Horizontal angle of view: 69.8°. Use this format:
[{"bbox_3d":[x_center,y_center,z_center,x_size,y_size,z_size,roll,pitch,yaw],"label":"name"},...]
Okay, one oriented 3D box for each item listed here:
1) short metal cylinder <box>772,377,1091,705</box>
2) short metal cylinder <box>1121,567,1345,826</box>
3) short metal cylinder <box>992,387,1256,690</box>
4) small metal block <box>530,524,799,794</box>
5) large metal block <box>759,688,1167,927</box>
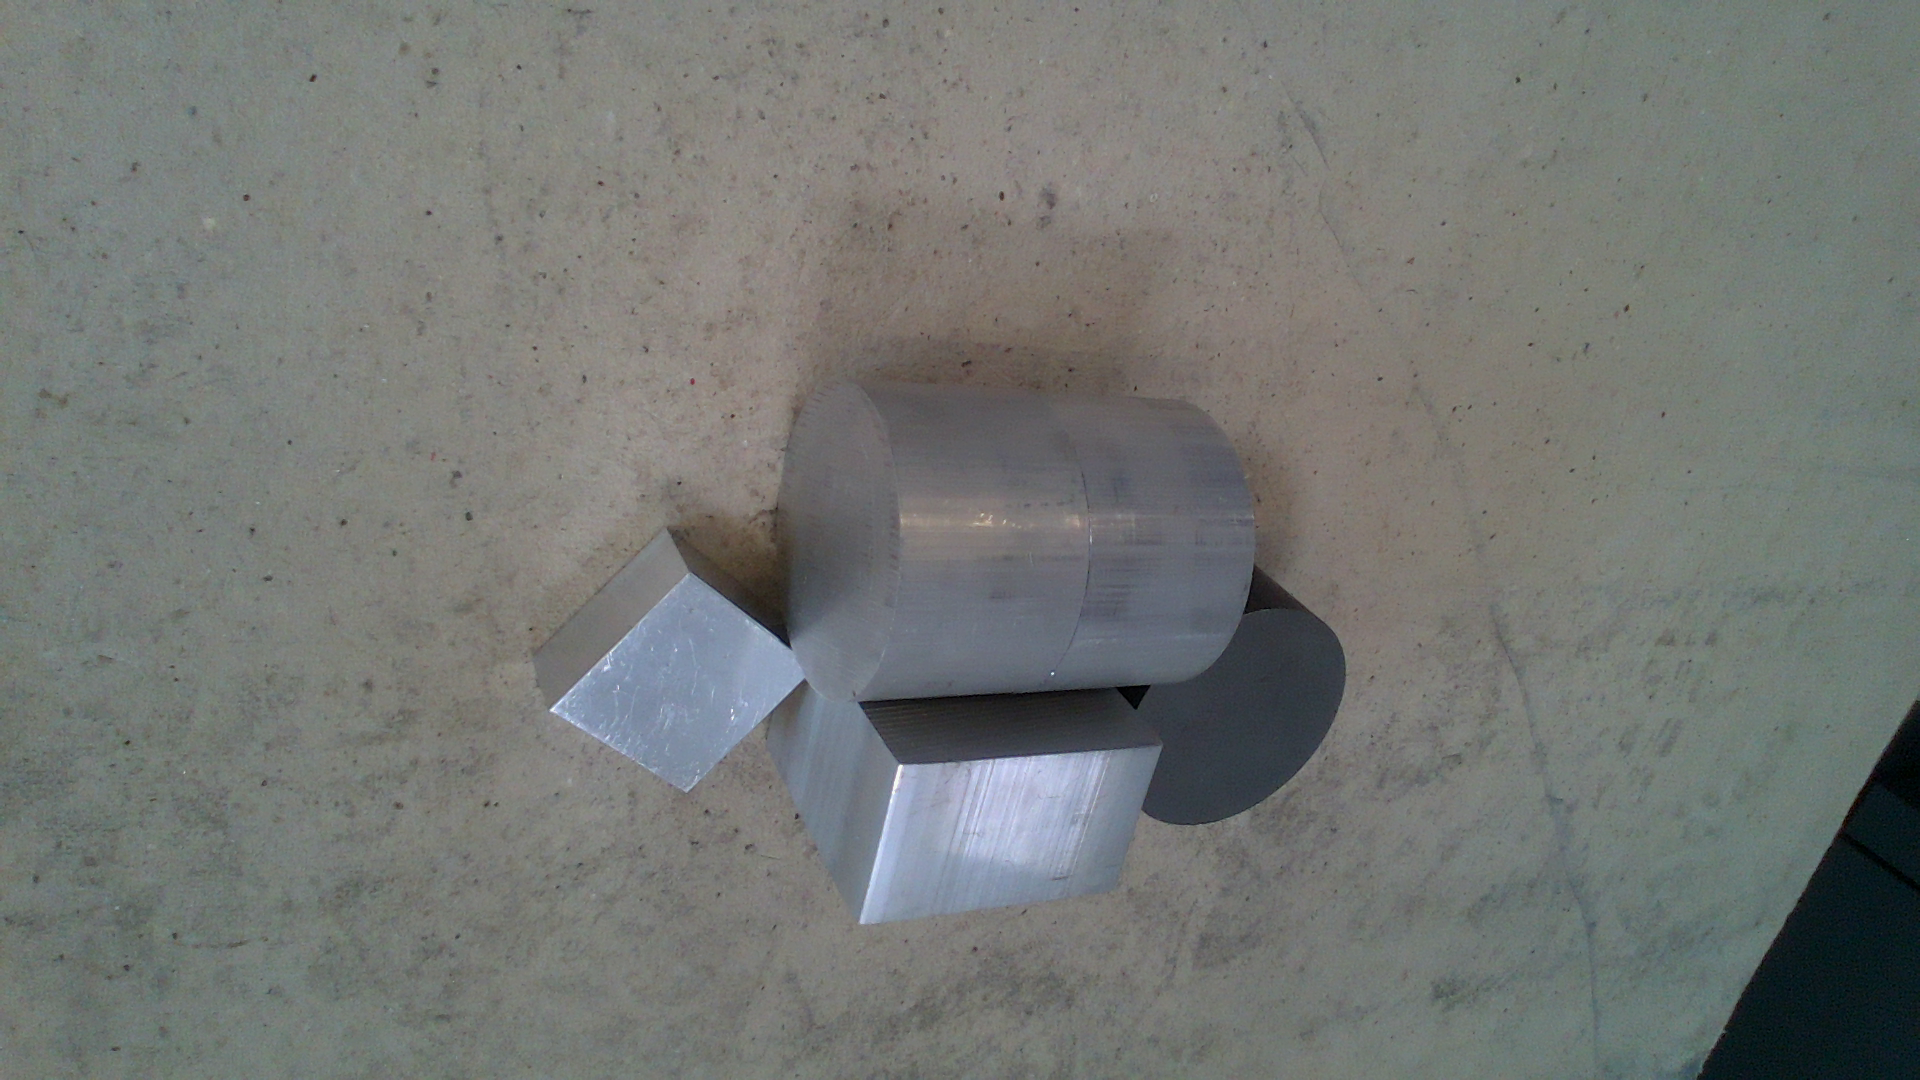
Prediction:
[{"bbox_3d":[-0.010,0.000,0.349,0.050,0.080,0.080,1,118,-29],"label":"short metal cylinder"},{"bbox_3d":[0.075,0.044,0.440,0.080,0.050,0.080,-14,124,-21],"label":"short metal cylinder"},{"bbox_3d":[0.034,0.000,0.373,0.050,0.080,0.080,1,118,-29],"label":"short metal cylinder"},{"bbox_3d":[-0.077,0.033,0.368,0.050,0.025,0.050,-44,129,2],"label":"small metal block"},{"bbox_3d":[-0.002,0.058,0.389,0.080,0.080,0.050,1,118,-29],"label":"large metal block"}]
